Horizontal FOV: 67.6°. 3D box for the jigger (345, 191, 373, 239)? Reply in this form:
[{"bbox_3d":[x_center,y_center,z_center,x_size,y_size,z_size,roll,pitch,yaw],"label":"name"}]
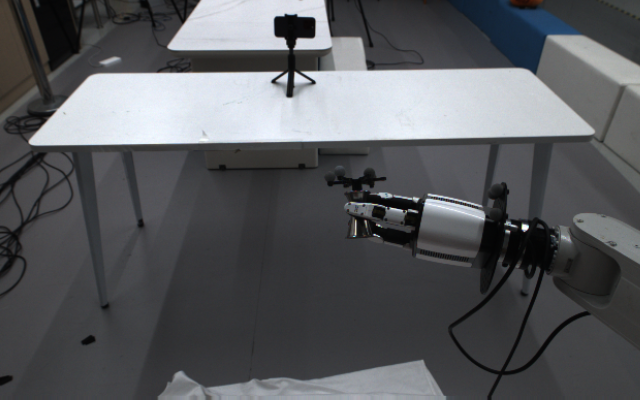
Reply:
[{"bbox_3d":[0.057,0.021,0.717,0.043,0.071,0.043,-2,-7,0],"label":"jigger"}]
